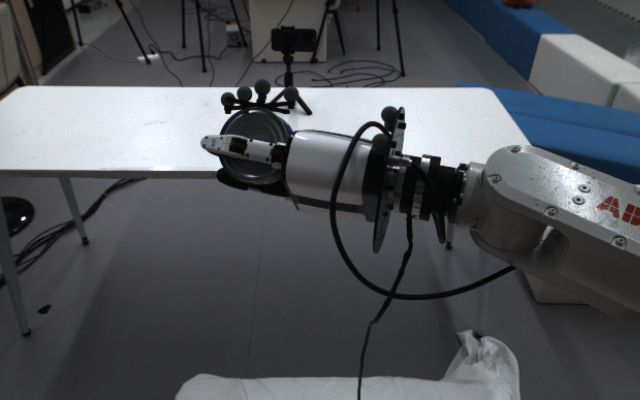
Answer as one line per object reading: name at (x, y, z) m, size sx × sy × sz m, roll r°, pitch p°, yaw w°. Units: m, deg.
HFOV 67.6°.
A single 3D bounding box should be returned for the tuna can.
tuna can at (-0.070, -0.061, 0.557) m, size 0.085 × 0.085 × 0.034 m, roll 15°, pitch 1°, yaw 18°
